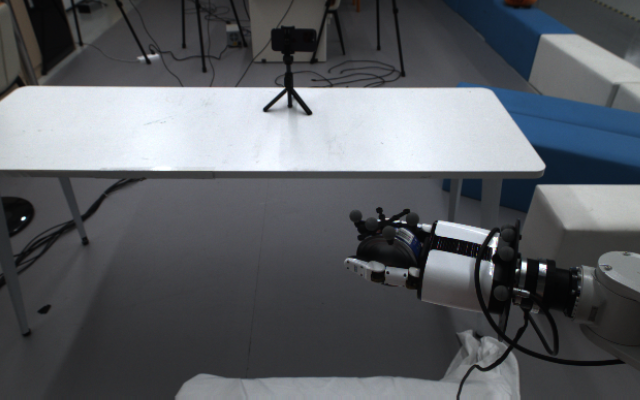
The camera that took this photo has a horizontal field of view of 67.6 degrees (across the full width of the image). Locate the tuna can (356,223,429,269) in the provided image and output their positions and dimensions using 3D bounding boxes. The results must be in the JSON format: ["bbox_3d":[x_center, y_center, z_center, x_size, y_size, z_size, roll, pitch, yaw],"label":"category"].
[{"bbox_3d":[0.098,0.073,0.663,0.085,0.085,0.034,17,37,20],"label":"tuna can"}]
